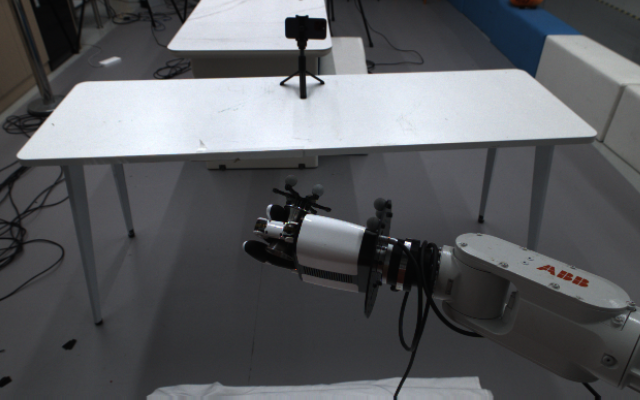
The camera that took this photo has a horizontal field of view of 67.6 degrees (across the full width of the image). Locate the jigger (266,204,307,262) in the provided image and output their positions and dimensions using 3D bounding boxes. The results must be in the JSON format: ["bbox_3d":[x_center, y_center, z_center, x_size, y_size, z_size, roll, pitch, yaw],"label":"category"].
[{"bbox_3d":[-0.043,0.044,0.675,0.043,0.043,0.071,15,71,18],"label":"jigger"}]
